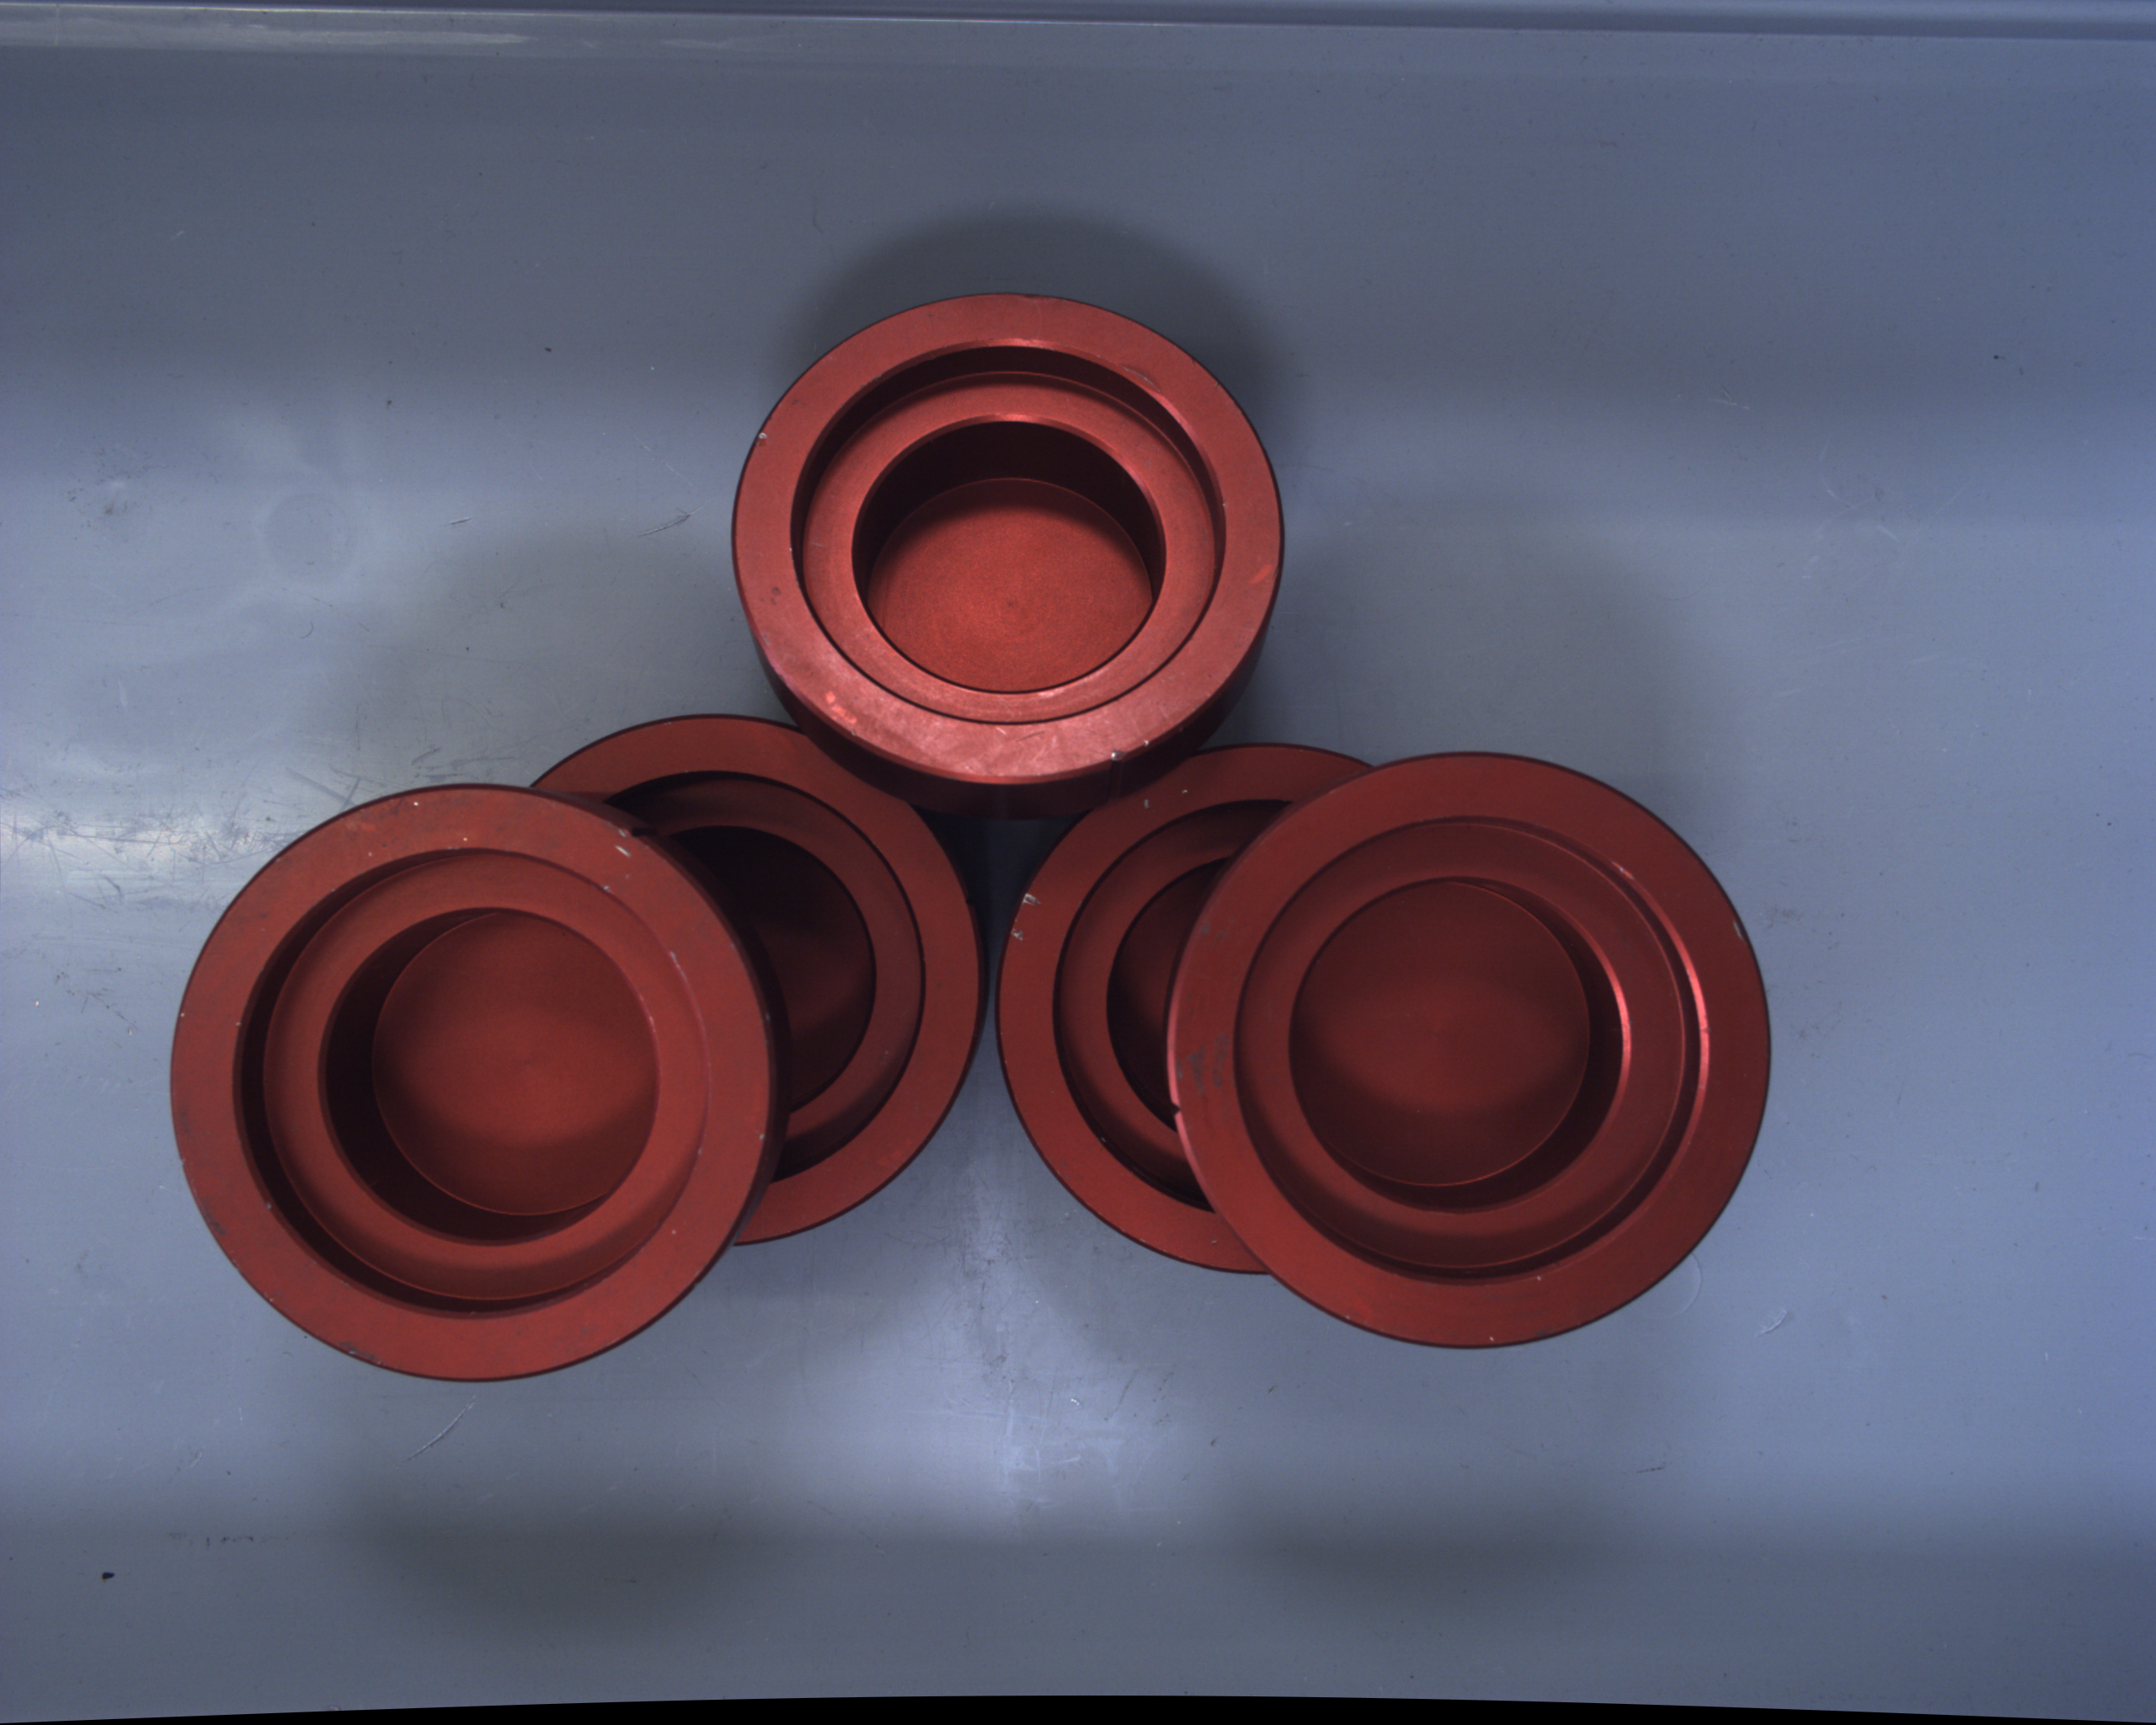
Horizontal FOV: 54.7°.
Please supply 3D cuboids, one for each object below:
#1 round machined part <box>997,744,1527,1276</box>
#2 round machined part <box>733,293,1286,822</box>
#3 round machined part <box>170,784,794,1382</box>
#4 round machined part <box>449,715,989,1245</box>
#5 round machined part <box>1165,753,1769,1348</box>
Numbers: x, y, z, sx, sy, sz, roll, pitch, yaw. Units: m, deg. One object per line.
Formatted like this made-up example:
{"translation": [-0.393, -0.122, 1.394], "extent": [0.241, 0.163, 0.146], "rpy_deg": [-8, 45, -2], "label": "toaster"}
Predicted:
{"translation": [0.034, 0.027, 0.402], "extent": [0.099, 0.042, 0.097], "rpy_deg": [0, 90, 0], "label": "round machined part"}
{"translation": [-0.013, -0.053, 0.391], "extent": [0.099, 0.042, 0.098], "rpy_deg": [1, 72, -1], "label": "round machined part"}
{"translation": [-0.098, 0.036, 0.359], "extent": [0.099, 0.042, 0.097], "rpy_deg": [0, 90, 0], "label": "round machined part"}
{"translation": [-0.066, 0.022, 0.401], "extent": [0.099, 0.042, 0.097], "rpy_deg": [0, 90, 0], "label": "round machined part"}
{"translation": [0.064, 0.031, 0.360], "extent": [0.099, 0.042, 0.097], "rpy_deg": [0, 90, 0], "label": "round machined part"}
